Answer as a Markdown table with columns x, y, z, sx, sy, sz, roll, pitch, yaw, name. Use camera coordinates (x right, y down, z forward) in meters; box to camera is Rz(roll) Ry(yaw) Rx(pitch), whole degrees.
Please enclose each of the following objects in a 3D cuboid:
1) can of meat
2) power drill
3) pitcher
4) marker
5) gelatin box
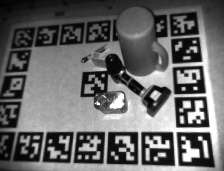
| x | y | z | sx | sy | sz | roll | pitch | yaw | name |
| --- | --- | --- | --- | --- | --- | --- | --- | --- | --- |
| -0.003 | 0.047 | 0.726 | 0.101 | 0.084 | 0.057 | -5 | 69 | 10 | can of meat |
| 0.054 | -0.033 | 0.691 | 0.186 | 0.185 | 0.057 | 32 | 84 | 14 | power drill |
| 0.096 | -0.141 | 0.694 | 0.186 | 0.245 | 0.133 | 28 | 83 | 26 | pitcher |
| -0.076 | -0.143 | 0.838 | 0.121 | 0.020 | 0.019 | -30 | 69 | 2 | marker |
| -0.028 | -0.103 | 0.790 | 0.089 | 0.074 | 0.030 | 7 | 78 | 12 | gelatin box |
